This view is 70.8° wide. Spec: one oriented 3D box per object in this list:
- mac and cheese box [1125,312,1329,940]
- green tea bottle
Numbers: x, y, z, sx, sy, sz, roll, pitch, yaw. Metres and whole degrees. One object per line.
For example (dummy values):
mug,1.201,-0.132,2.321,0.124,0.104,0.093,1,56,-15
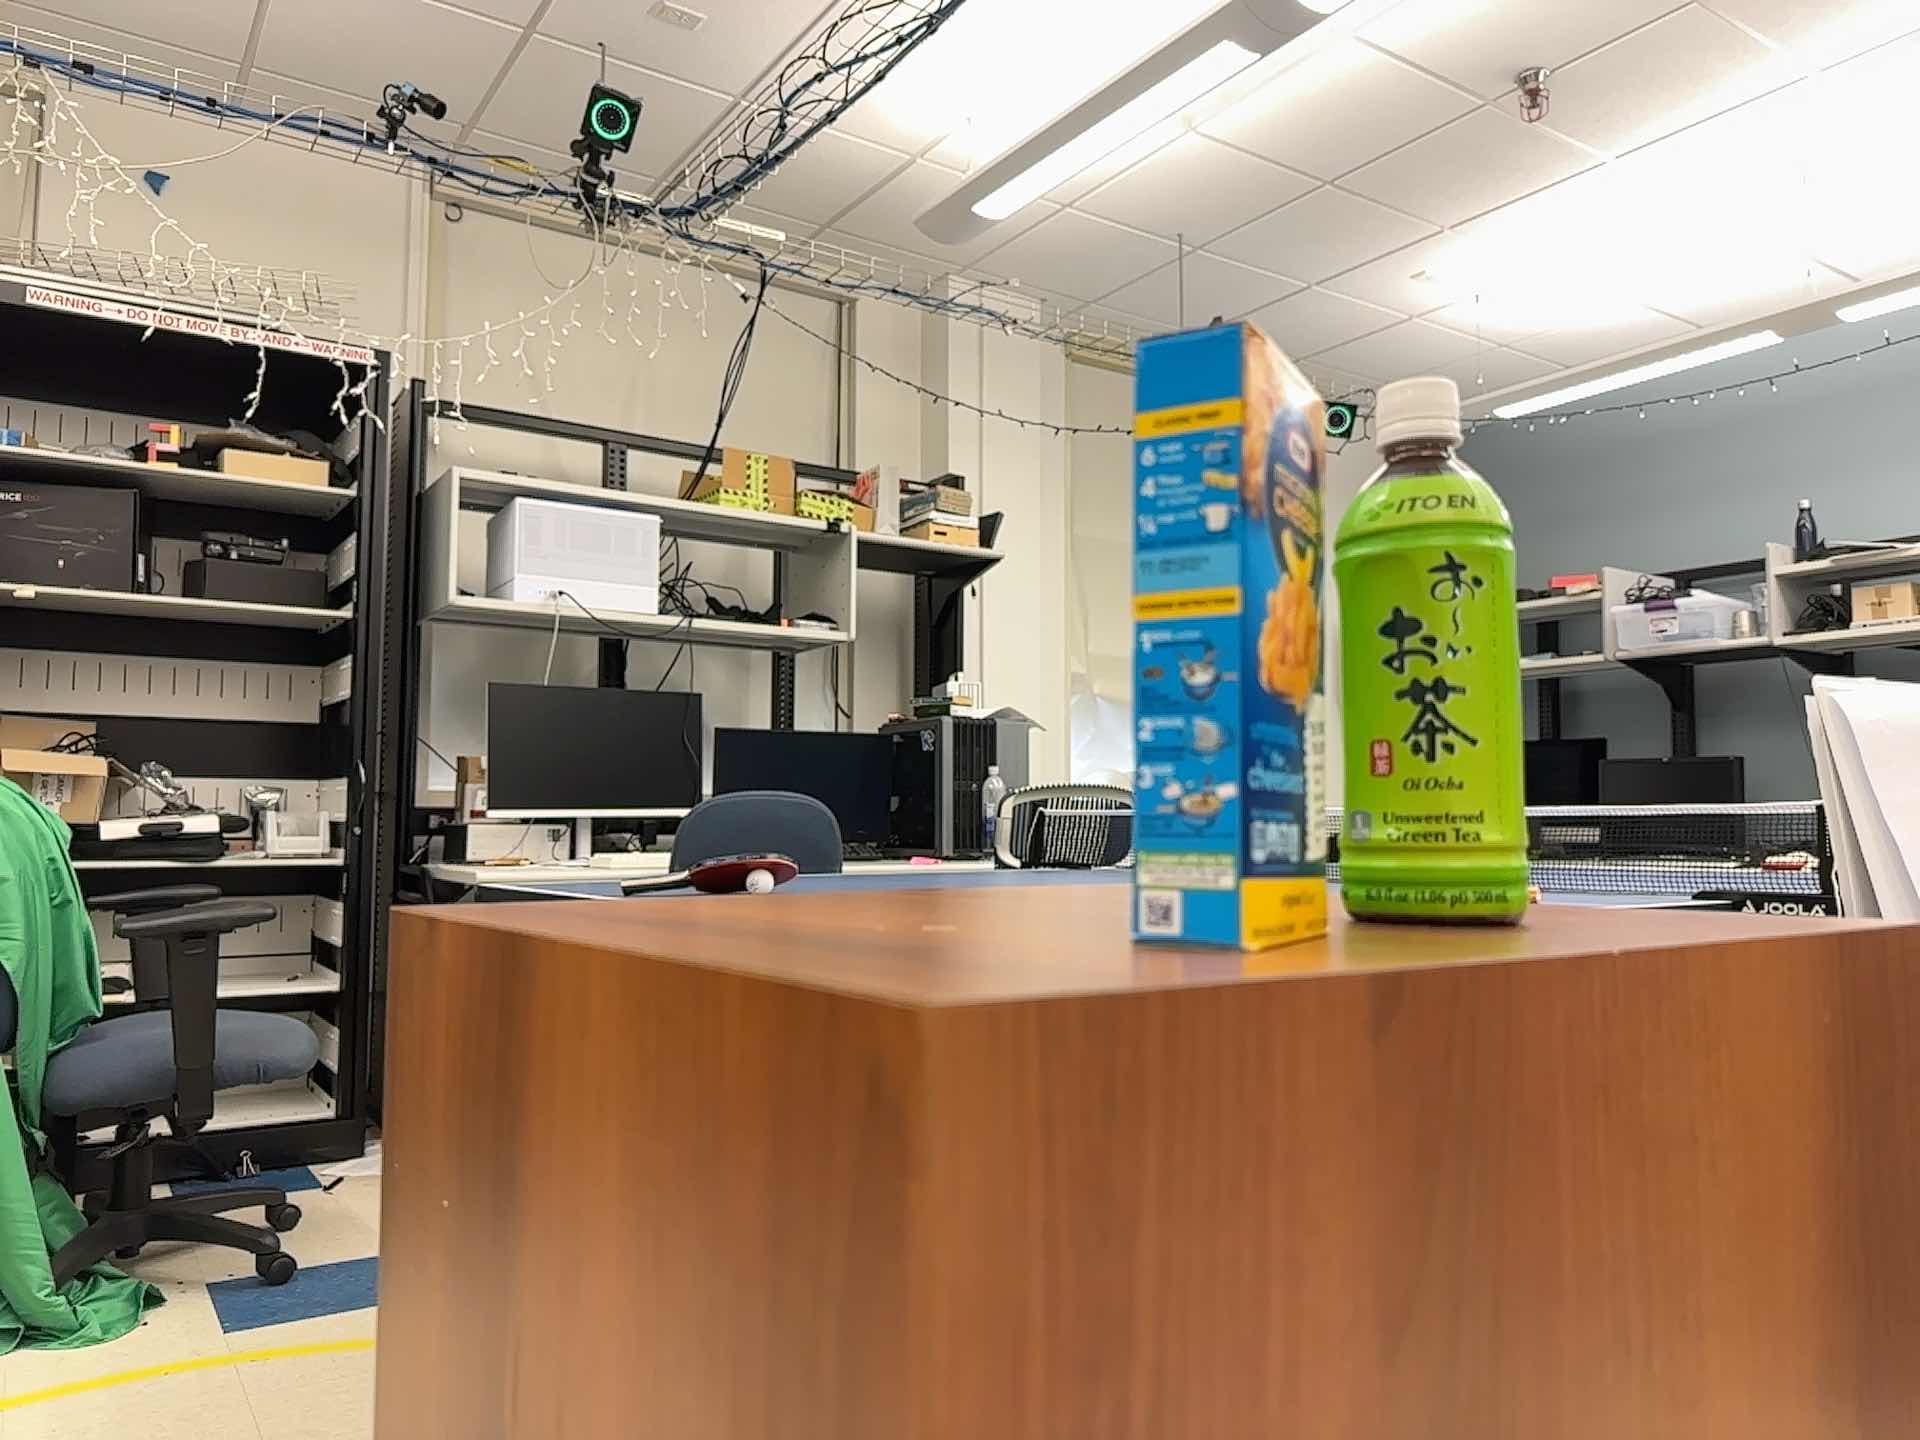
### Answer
mac and cheese box,0.087,-0.025,0.433,0.035,0.181,0.088,-3,-6,32
green tea bottle,0.182,-0.030,0.530,0.073,0.212,0.073,2,-8,0
